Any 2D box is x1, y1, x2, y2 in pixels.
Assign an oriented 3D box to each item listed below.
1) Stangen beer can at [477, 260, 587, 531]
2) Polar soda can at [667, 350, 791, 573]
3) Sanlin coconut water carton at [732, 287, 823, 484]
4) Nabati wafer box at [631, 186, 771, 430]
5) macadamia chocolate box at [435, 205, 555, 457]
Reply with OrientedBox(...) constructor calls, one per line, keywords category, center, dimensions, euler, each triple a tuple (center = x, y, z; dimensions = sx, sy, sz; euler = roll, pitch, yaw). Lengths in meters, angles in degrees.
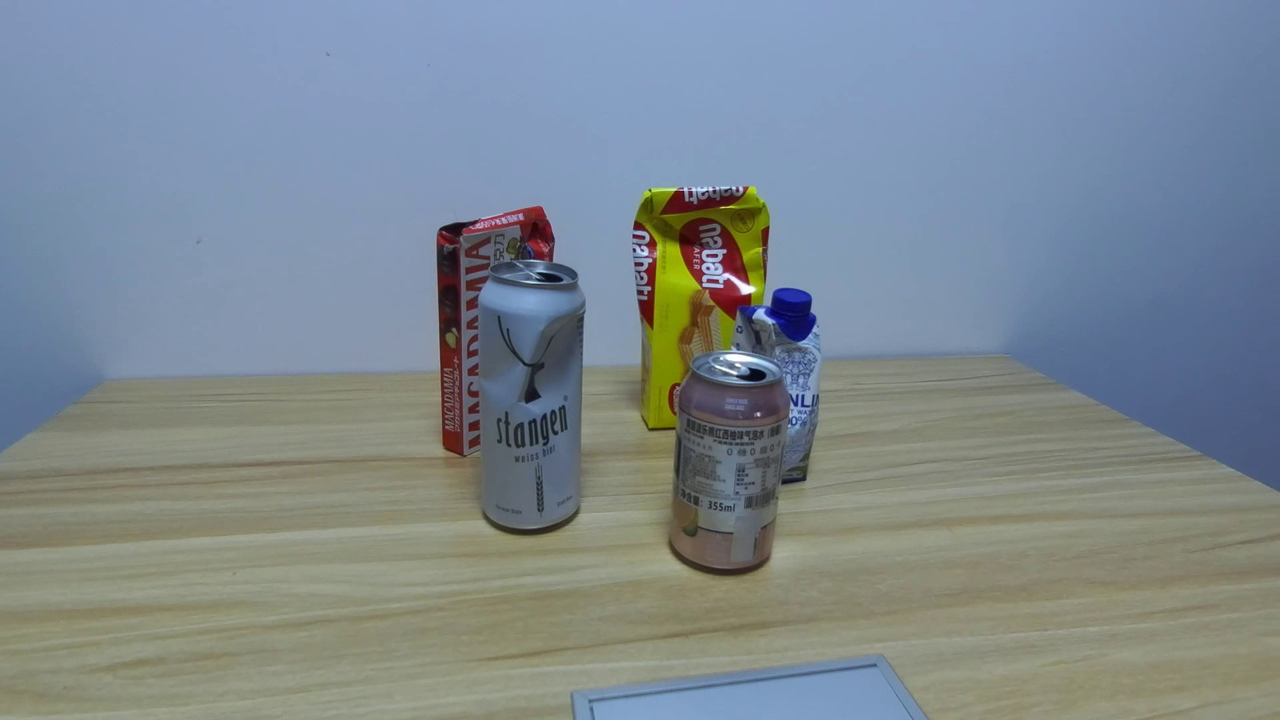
OrientedBox(category="Stangen beer can", center=(-0.068, 0.024, 0.455), dimensions=(0.070, 0.173, 0.069), euler=(-2, 20, -15))
OrientedBox(category="Polar soda can", center=(0.054, 0.062, 0.430), dimensions=(0.067, 0.125, 0.067), euler=(2, 17, 0))
OrientedBox(category="Sanlin coconut water carton", center=(0.101, 0.018, 0.535), dimensions=(0.057, 0.144, 0.068), euler=(0, 11, -28))
OrientedBox(category="Nabati wafer box", center=(0.051, -0.042, 0.604), dimensions=(0.113, 0.205, 0.042), euler=(-3, 20, -11))
OrientedBox(category="macadamia chocolate box", center=(-0.112, -0.025, 0.571), dimensions=(0.027, 0.187, 0.103), euler=(23, 29, 34))
